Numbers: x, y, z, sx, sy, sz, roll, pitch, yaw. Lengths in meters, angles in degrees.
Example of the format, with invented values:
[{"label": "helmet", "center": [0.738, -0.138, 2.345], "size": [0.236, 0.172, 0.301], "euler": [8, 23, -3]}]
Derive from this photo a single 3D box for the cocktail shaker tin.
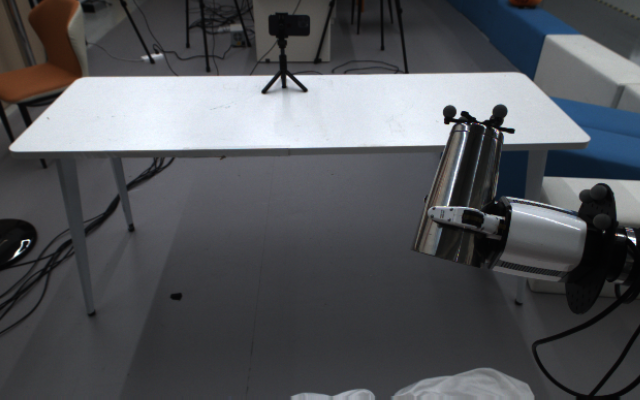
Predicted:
[{"label": "cocktail shaker tin", "center": [0.181, -0.007, 0.619], "size": [0.093, 0.170, 0.093], "euler": [15, -4, 1]}]
